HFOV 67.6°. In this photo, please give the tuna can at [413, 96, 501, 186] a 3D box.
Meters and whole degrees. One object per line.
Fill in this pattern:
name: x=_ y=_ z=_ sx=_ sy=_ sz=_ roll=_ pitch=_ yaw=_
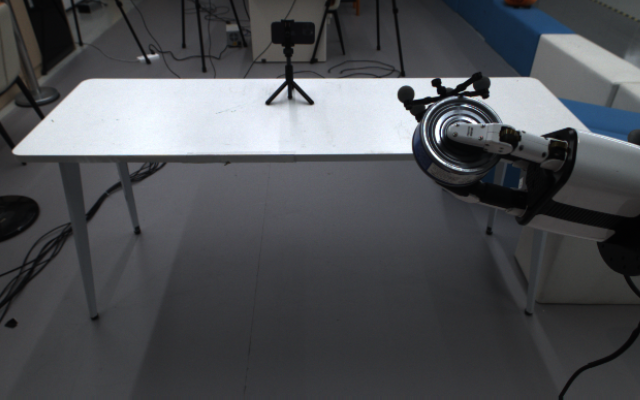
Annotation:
tuna can: x=0.138 y=-0.063 z=0.477 sx=0.085 sy=0.034 sz=0.085 roll=0 pitch=70 yaw=-1
